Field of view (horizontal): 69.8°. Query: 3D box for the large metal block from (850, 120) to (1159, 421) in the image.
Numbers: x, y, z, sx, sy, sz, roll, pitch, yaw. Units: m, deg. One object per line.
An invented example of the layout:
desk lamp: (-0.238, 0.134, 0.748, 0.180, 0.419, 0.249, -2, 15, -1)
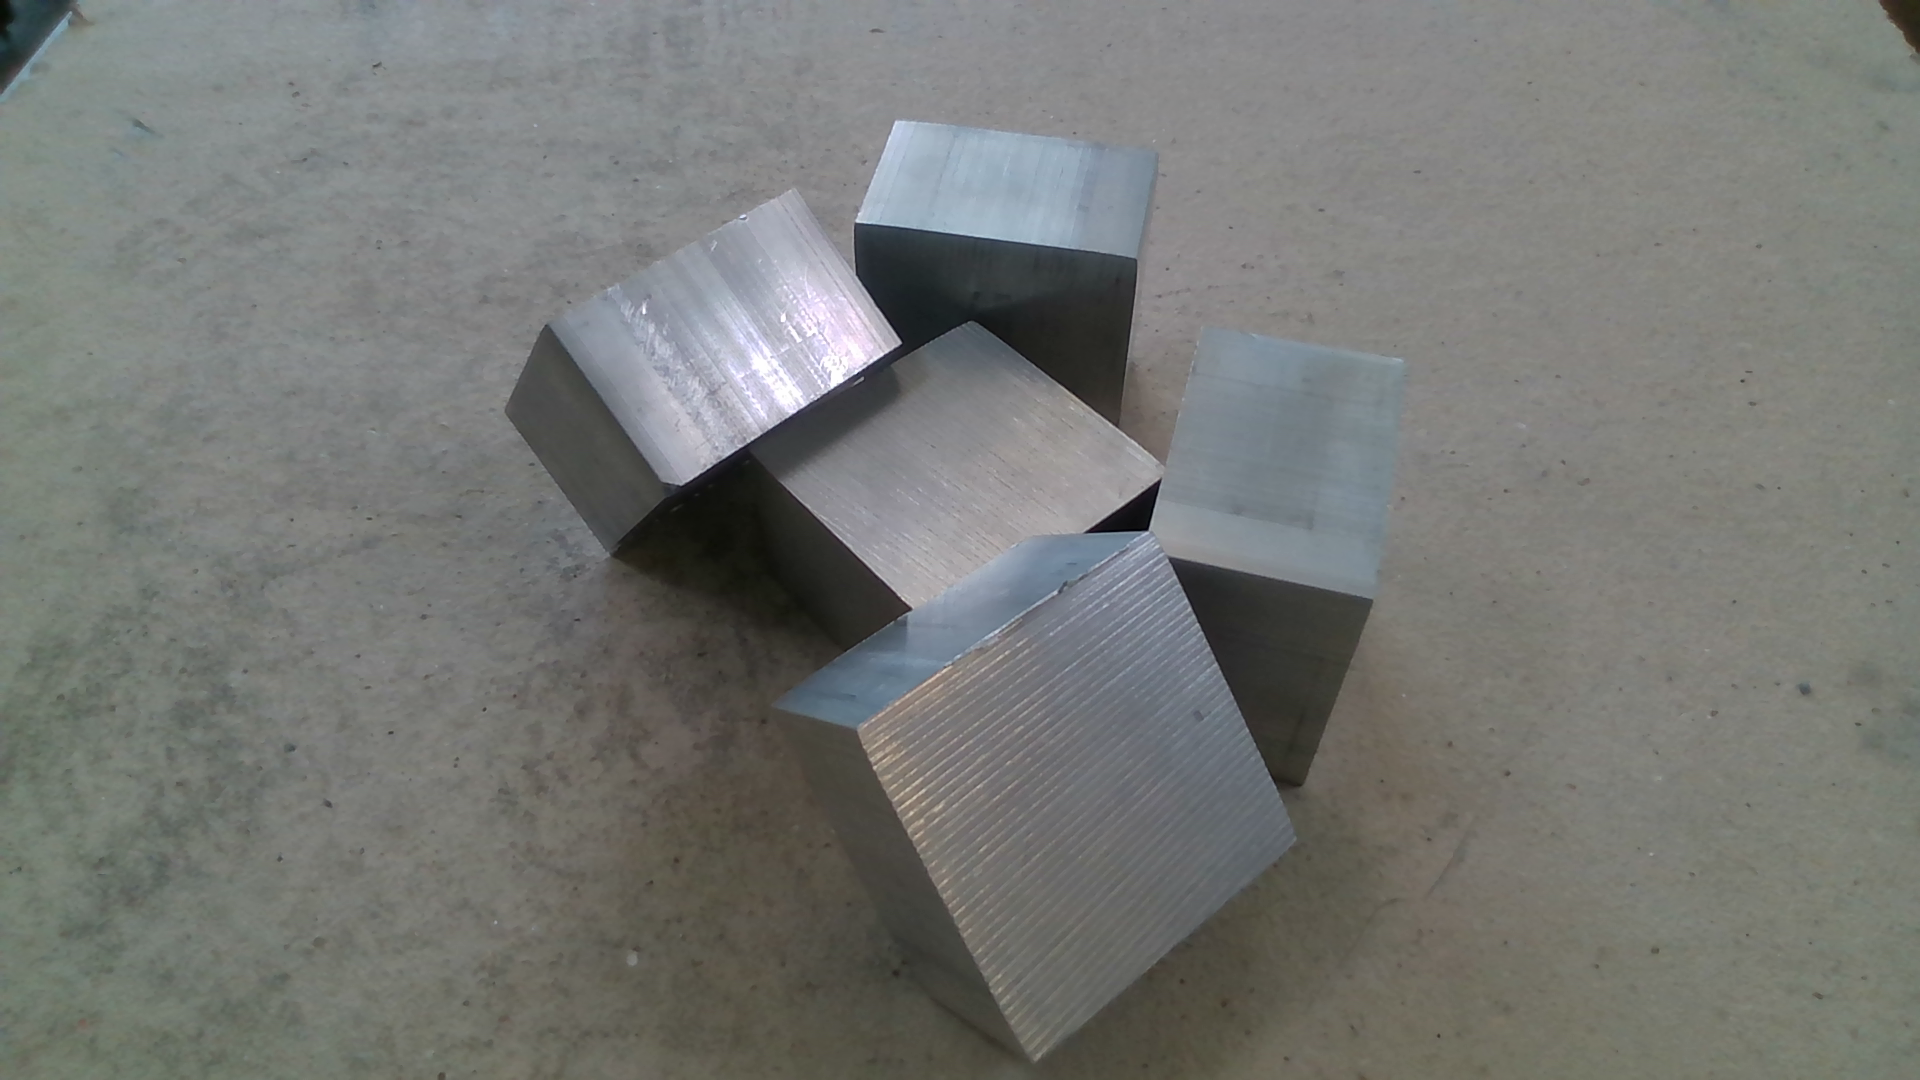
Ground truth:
large metal block: (0.014, -0.075, 0.422, 0.080, 0.080, 0.050, 9, 51, 8)

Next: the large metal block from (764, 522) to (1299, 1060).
large metal block: (0.017, 0.051, 0.307, 0.080, 0.080, 0.050, -32, 13, -24)

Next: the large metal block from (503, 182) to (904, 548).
large metal block: (-0.075, -0.046, 0.388, 0.080, 0.080, 0.050, -37, 96, -27)

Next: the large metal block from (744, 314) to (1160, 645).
large metal block: (-0.001, -0.006, 0.380, 0.080, 0.050, 0.080, -34, 58, -24)

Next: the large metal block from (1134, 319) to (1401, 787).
large metal block: (0.075, 0.004, 0.355, 0.050, 0.080, 0.080, 12, 51, 10)
